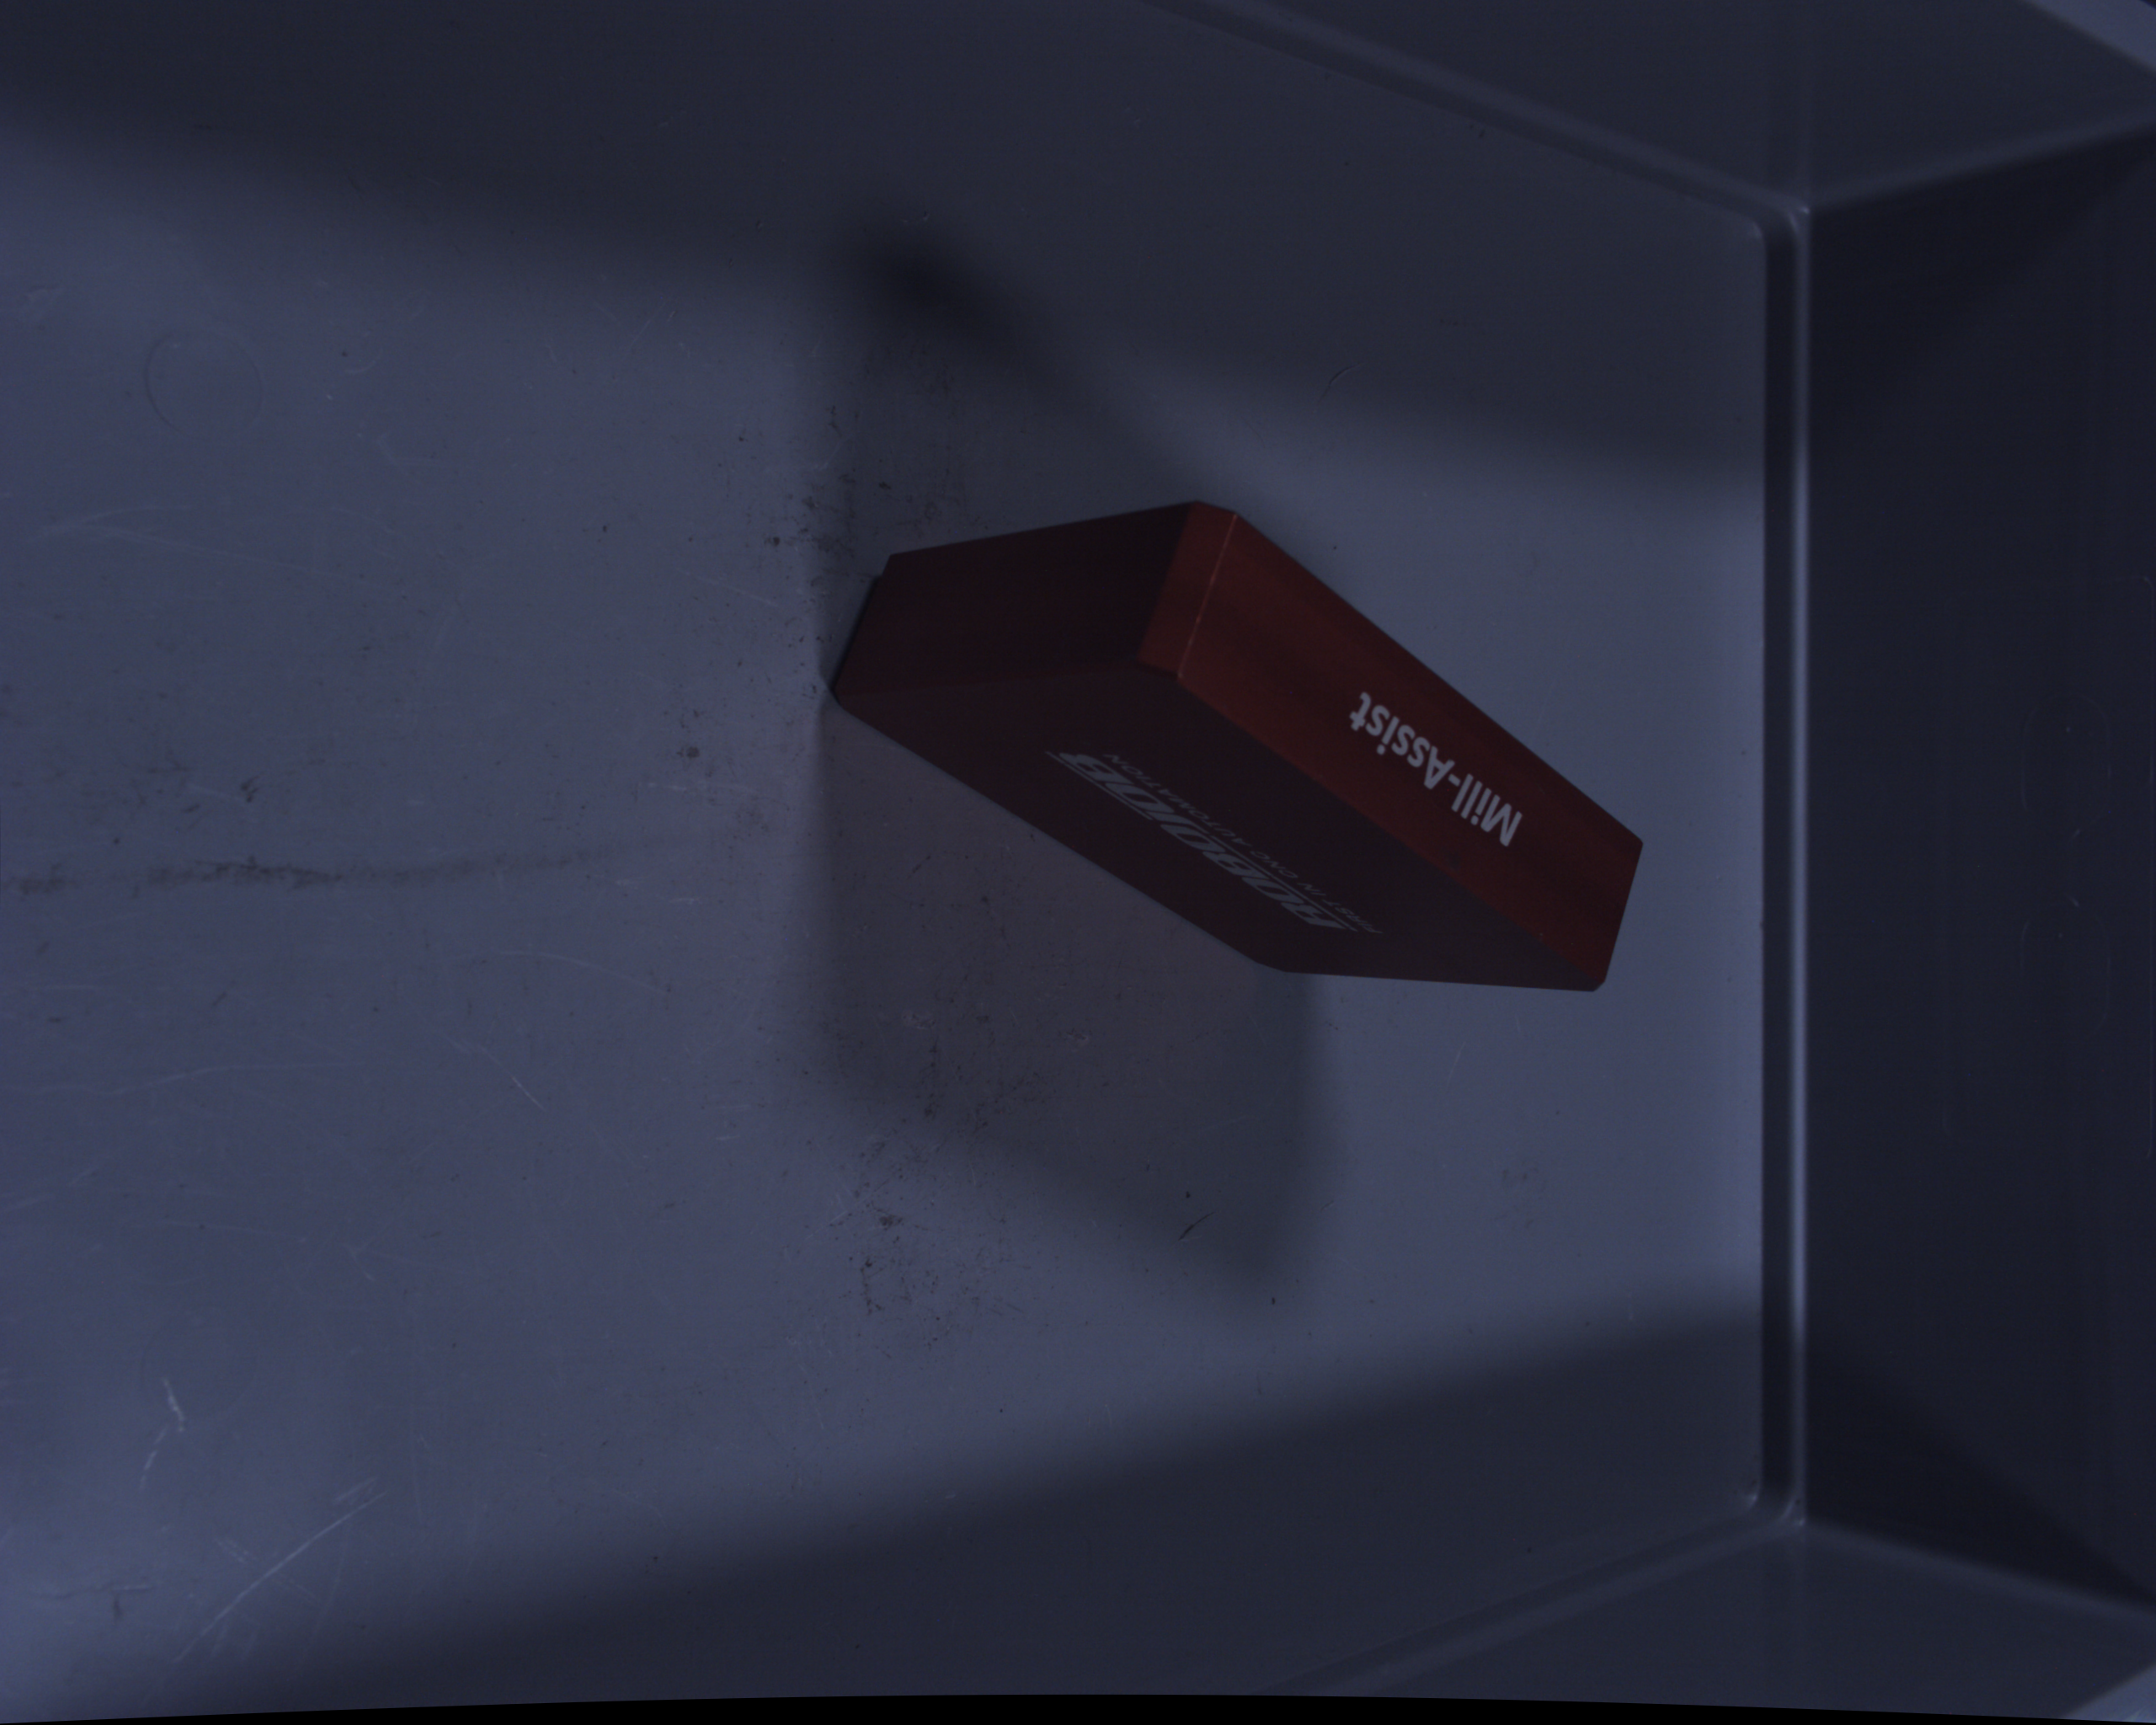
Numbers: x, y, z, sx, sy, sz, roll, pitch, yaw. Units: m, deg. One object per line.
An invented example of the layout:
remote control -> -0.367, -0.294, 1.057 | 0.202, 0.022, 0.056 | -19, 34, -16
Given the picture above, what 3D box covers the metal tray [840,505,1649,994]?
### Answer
metal tray -> 0.033, -0.016, 0.389 | 0.130, 0.090, 0.030 | 31, 71, -37
